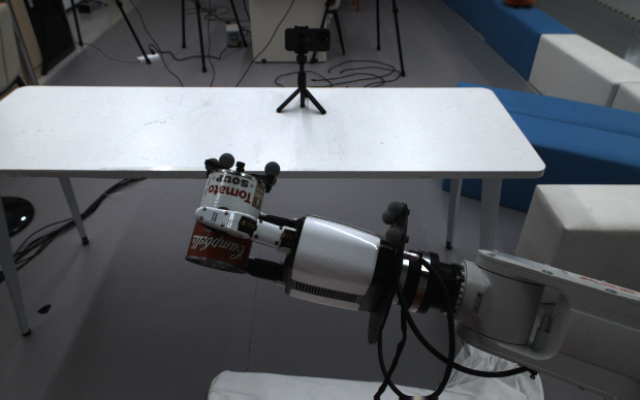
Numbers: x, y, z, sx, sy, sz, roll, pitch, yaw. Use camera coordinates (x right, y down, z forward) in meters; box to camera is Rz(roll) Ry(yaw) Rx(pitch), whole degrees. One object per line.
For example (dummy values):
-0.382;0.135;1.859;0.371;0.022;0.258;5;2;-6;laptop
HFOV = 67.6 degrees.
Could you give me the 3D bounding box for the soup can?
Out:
-0.102;0.025;0.540;0.067;0.067;0.101;9;74;9;soup can
